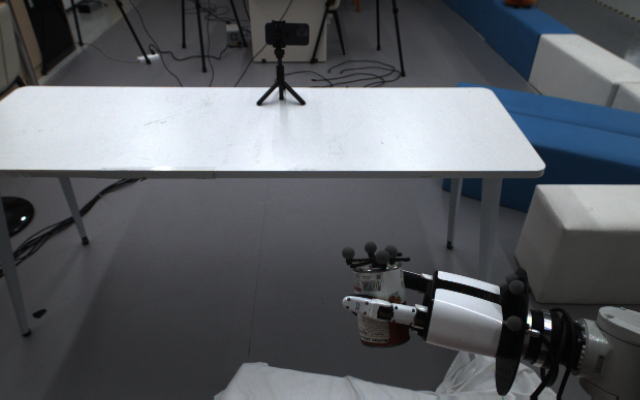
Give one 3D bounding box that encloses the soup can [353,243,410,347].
[{"bbox_3d":[0.084,0.134,0.640,0.067,0.101,0.067,-7,3,0],"label":"soup can"}]
